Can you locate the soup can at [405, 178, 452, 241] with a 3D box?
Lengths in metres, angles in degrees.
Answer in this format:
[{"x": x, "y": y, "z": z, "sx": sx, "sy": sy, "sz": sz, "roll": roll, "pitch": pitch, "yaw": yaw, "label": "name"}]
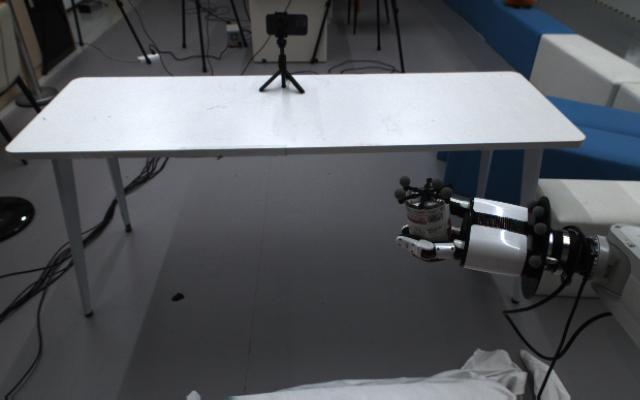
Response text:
[{"x": 0.174, "y": 0.036, "z": 0.761, "sx": 0.067, "sy": 0.101, "sz": 0.067, "roll": -11, "pitch": 27, "yaw": 6, "label": "soup can"}]
